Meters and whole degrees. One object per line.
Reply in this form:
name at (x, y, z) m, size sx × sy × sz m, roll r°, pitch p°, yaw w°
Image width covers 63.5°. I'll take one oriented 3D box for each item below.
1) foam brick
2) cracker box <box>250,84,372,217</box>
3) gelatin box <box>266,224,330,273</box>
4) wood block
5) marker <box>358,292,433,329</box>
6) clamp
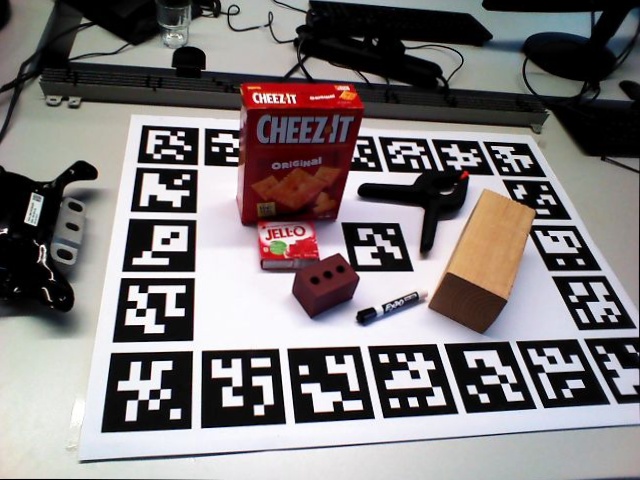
foam brick at (0.018, 0.067, 0.725) m, size 0.078 × 0.051 × 0.053 m, roll -21°, pitch 60°, yaw -25°
cracker box at (-0.017, -0.128, 0.766) m, size 0.164 × 0.215 × 0.071 m, roll -2°, pitch 51°, yaw -15°
gelatin box at (-0.034, 0.012, 0.778) m, size 0.089 × 0.030 × 0.073 m, roll -1°, pitch 53°, yaw -12°
wood block at (0.263, 0.031, 0.783) m, size 0.090 × 0.091 × 0.204 m, roll 26°, pitch 48°, yaw 13°
marker at (0.107, 0.100, 0.735) m, size 0.120 × 0.020 × 0.019 m, roll -17°, pitch 58°, yaw -23°
clamp at (0.203, -0.072, 0.885) m, size 0.201 × 0.037 × 0.165 m, roll -27°, pitch 62°, yaw -28°
